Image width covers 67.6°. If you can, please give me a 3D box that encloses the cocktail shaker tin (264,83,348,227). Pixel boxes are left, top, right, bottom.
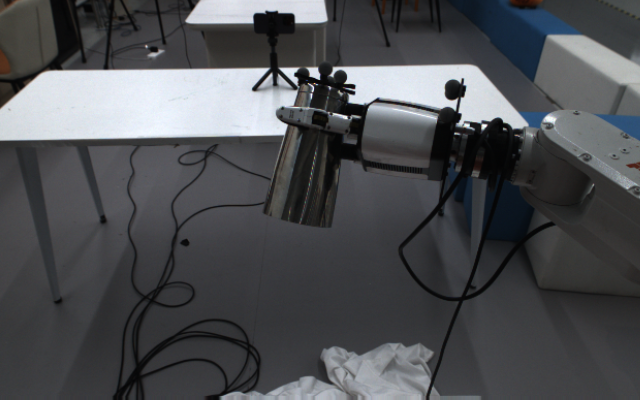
[{"bbox_3d":[-0.011,-0.059,0.627,0.093,0.170,0.093,12,3,-1],"label":"cocktail shaker tin"}]
